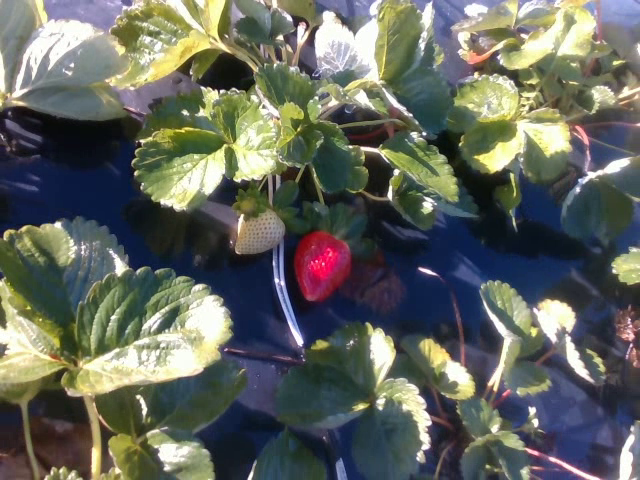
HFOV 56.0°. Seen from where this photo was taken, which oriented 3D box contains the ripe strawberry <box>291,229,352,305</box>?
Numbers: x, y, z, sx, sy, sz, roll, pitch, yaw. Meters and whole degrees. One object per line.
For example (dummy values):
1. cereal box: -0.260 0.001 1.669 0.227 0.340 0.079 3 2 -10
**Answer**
1. ripe strawberry: 0.008 0.021 0.480 0.040 0.063 0.080 -16 34 31
